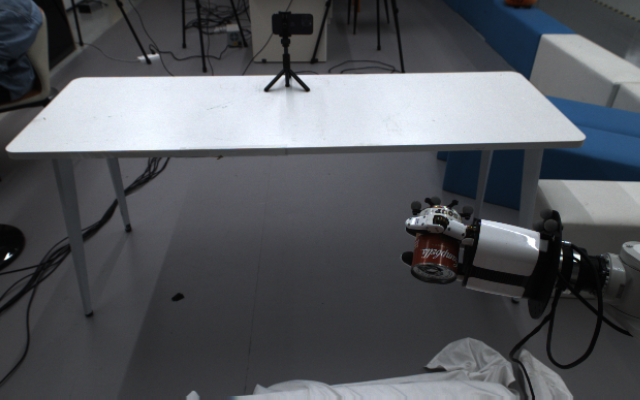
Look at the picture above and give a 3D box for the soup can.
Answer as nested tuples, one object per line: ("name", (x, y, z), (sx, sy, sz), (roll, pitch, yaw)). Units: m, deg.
("soup can", (0.178, 0.066, 0.732), (0.067, 0.067, 0.101), (9, 58, 10))
